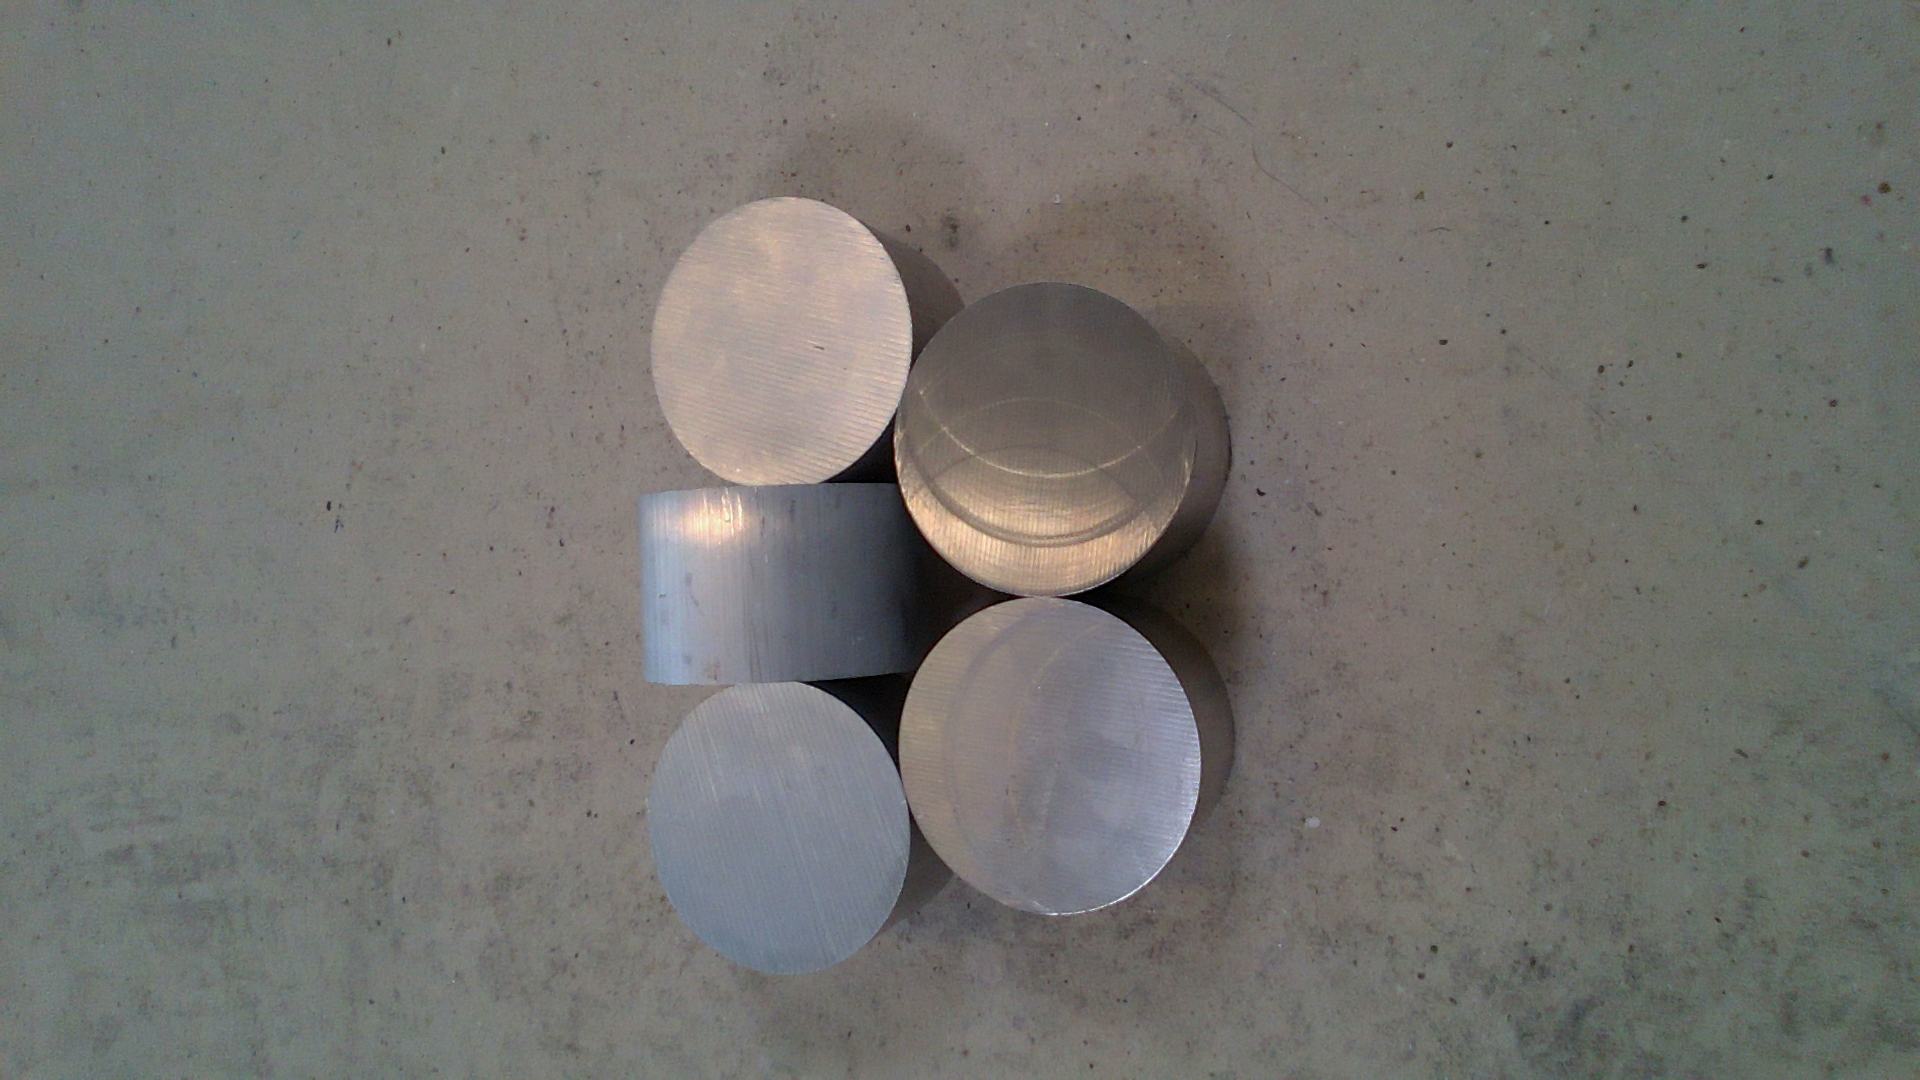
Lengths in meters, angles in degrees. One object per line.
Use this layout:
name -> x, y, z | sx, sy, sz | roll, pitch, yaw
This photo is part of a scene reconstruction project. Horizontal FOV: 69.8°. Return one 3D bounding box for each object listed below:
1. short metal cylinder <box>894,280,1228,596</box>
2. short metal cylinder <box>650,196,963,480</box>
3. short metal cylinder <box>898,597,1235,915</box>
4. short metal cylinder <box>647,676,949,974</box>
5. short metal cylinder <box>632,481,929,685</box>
short metal cylinder -> 0.029, -0.026, 0.372 | 0.080, 0.050, 0.080 | 0, 91, 20
short metal cylinder -> -0.041, -0.054, 0.397 | 0.080, 0.050, 0.080 | 0, 90, 21
short metal cylinder -> 0.030, 0.055, 0.371 | 0.080, 0.050, 0.080 | 0, 91, 21
short metal cylinder -> -0.042, 0.078, 0.398 | 0.080, 0.050, 0.080 | 0, 90, 21
short metal cylinder -> -0.049, 0.011, 0.385 | 0.080, 0.080, 0.050 | -3, 89, 20
